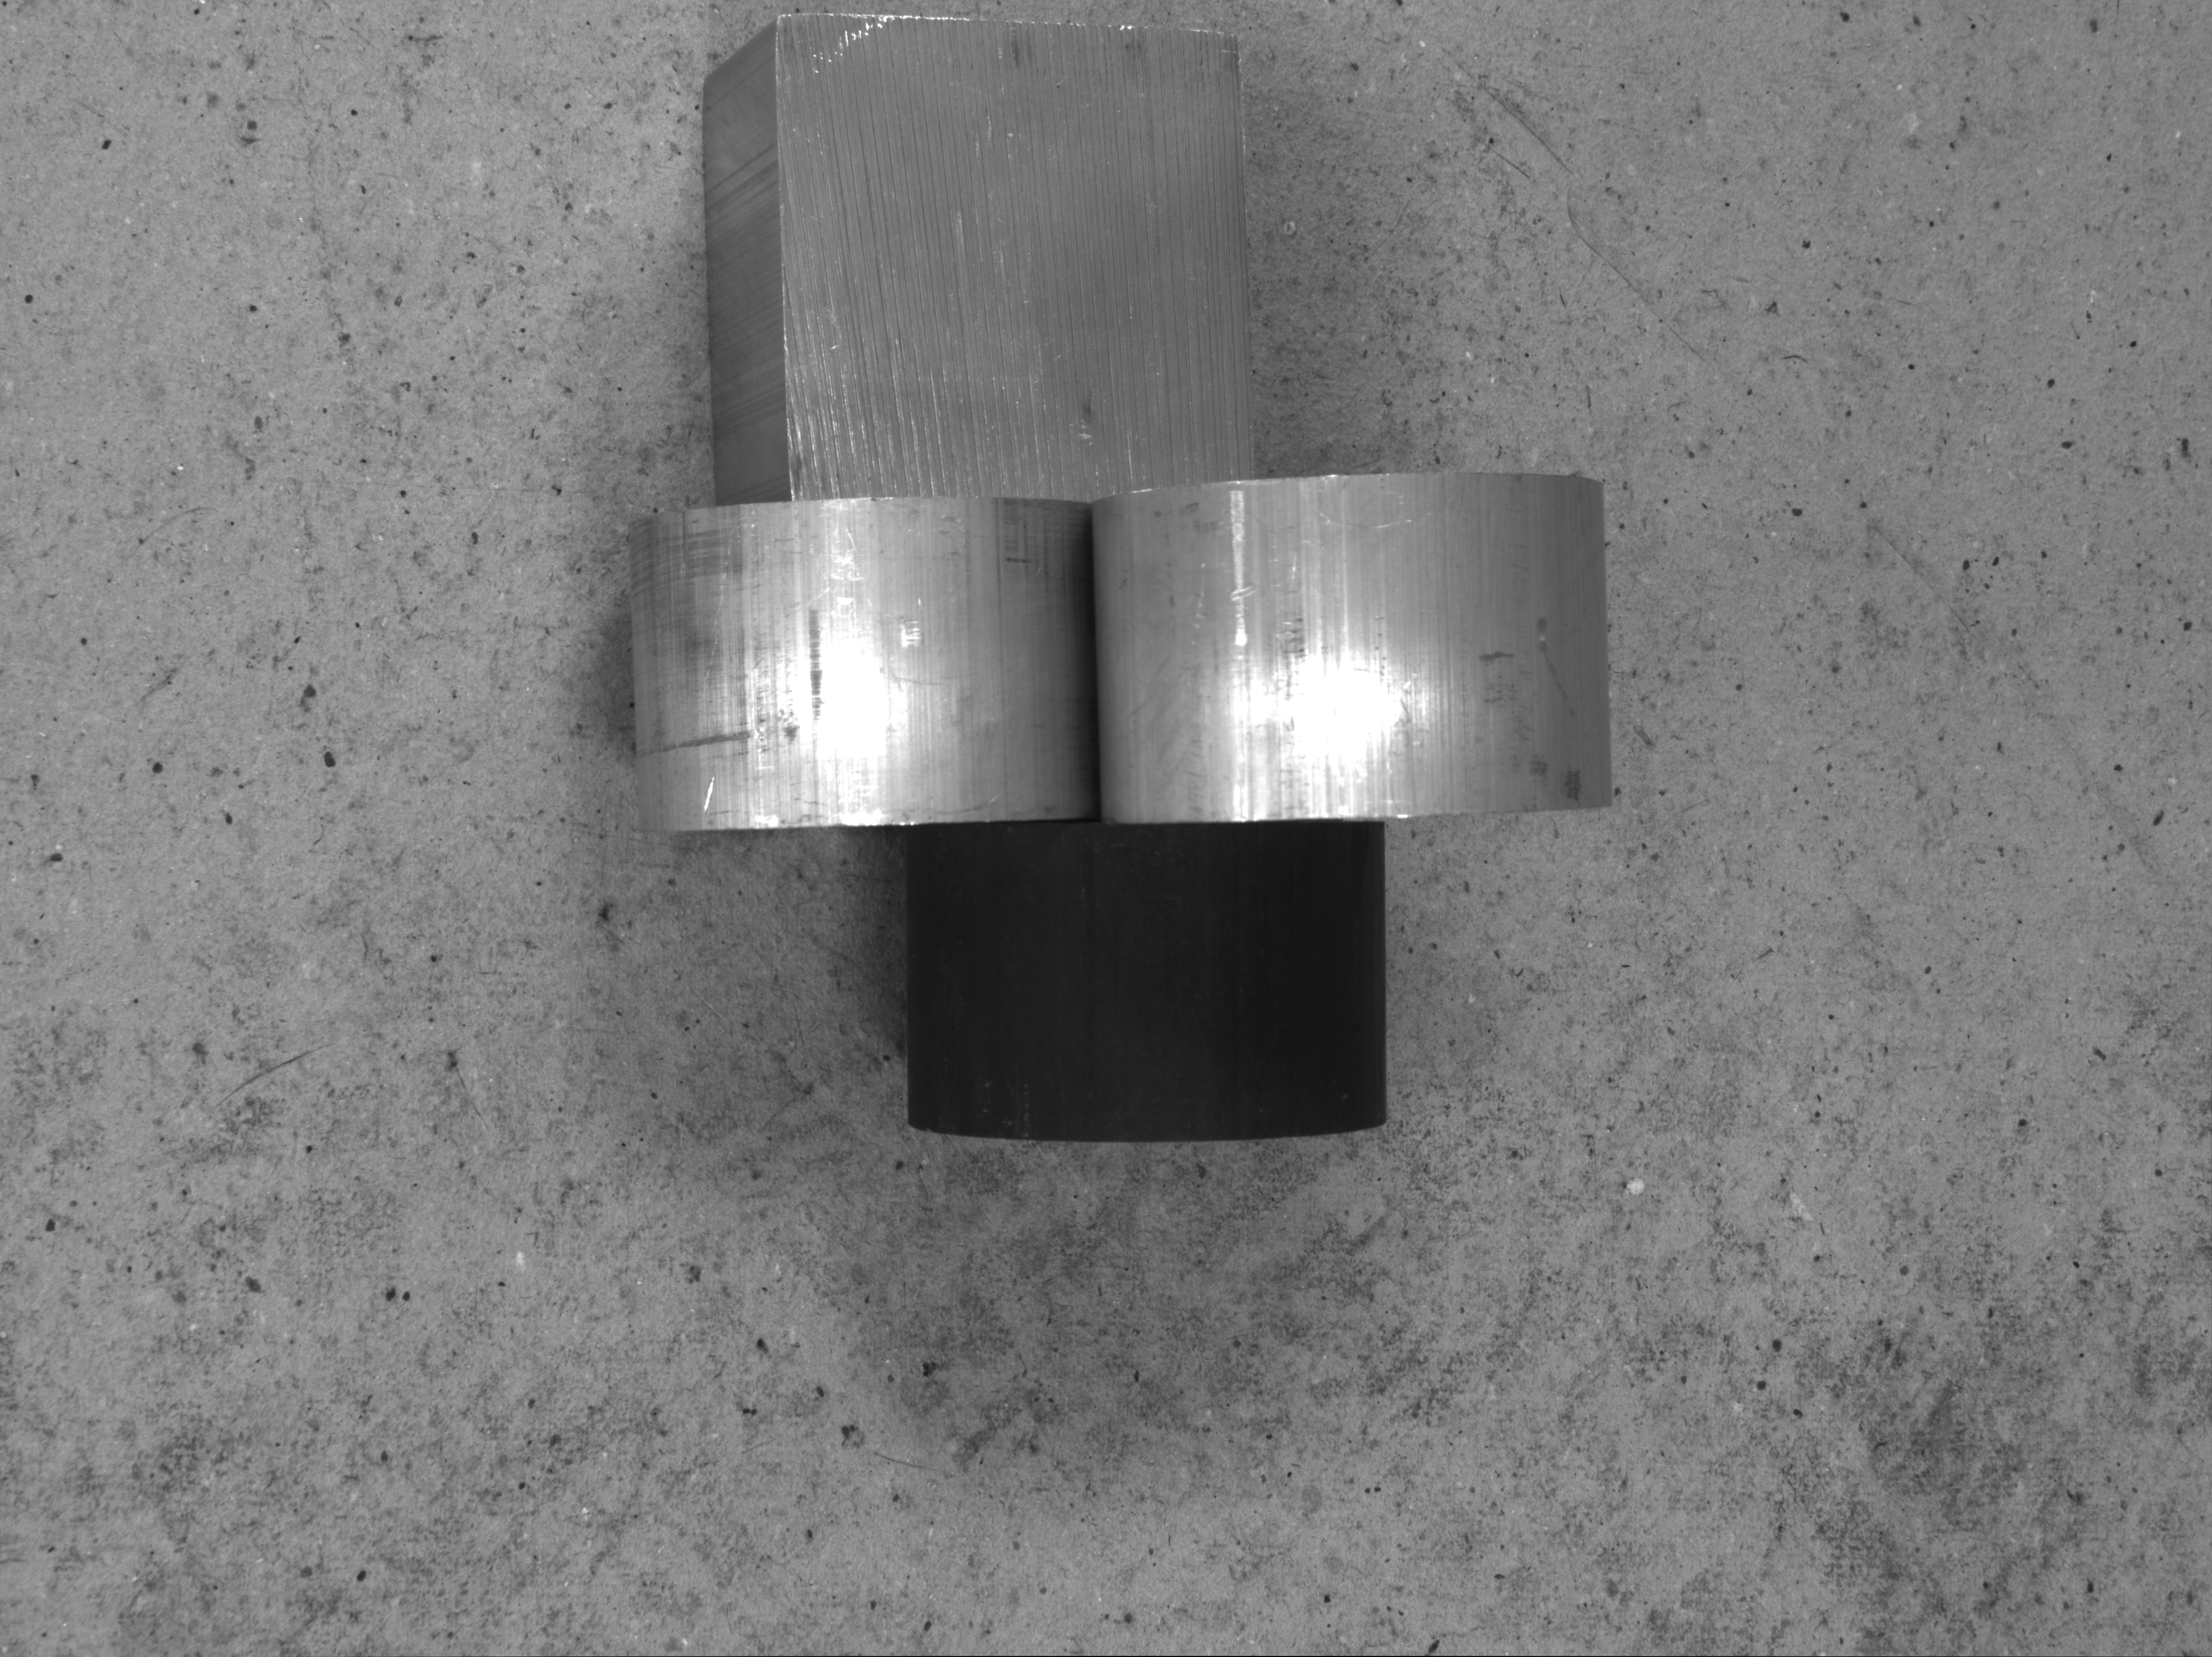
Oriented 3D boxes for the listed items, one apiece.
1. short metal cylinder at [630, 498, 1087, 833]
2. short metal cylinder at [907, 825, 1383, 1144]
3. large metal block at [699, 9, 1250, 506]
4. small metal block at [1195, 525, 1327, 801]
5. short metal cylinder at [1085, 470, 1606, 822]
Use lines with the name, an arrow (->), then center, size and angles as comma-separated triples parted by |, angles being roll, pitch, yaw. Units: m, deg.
short metal cylinder -> -0.037, -0.026, 0.602 | 0.080, 0.080, 0.050 | -2, 91, -20
short metal cylinder -> 0.006, 0.025, 0.617 | 0.080, 0.080, 0.050 | 0, 90, -20
large metal block -> -0.023, -0.092, 0.623 | 0.080, 0.050, 0.080 | -2, 91, -20
small metal block -> 0.018, -0.026, 0.639 | 0.025, 0.050, 0.050 | 1, 90, -20
short metal cylinder -> 0.037, -0.027, 0.576 | 0.080, 0.080, 0.050 | -2, 91, -20
